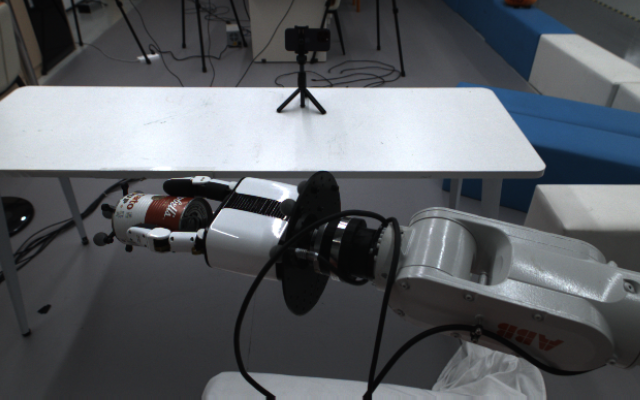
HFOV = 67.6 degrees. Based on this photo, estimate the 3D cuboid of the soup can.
[{"bbox_3d":[-0.190,0.029,0.594,0.101,0.067,0.067,4,34,20],"label":"soup can"}]
